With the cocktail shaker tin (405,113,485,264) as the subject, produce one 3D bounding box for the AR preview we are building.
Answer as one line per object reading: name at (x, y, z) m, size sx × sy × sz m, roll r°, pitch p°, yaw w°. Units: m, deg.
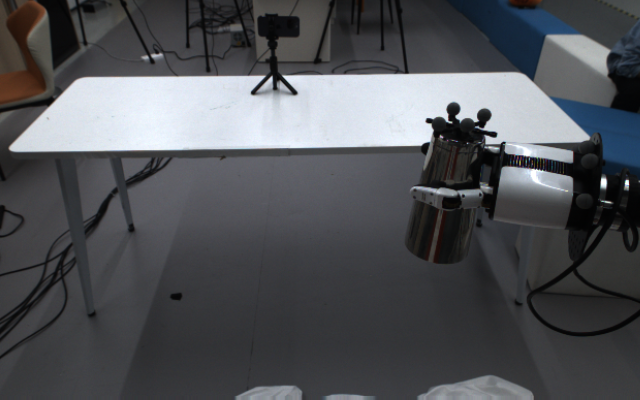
cocktail shaker tin at (0.174, -0.011, 0.653) m, size 0.093 × 0.170 × 0.093 m, roll 2°, pitch 30°, yaw -1°
